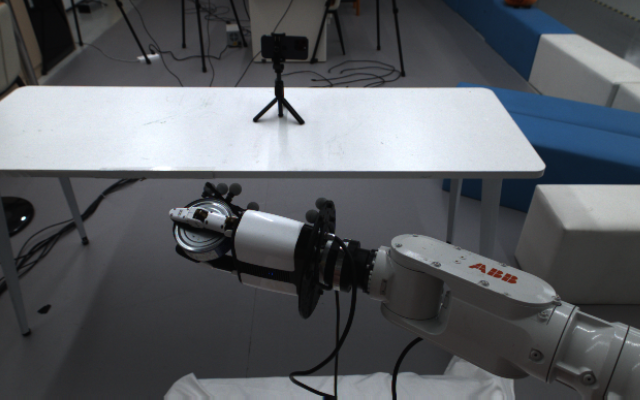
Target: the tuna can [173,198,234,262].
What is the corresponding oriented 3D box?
[{"bbox_3d":[-0.157,0.041,0.676,0.085,0.034,0.085,-4,56,6],"label":"tuna can"}]
